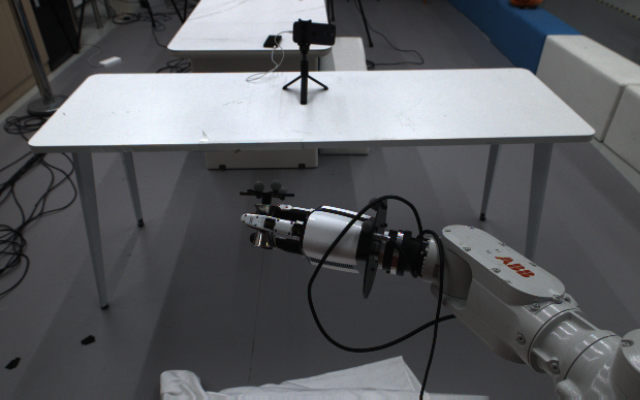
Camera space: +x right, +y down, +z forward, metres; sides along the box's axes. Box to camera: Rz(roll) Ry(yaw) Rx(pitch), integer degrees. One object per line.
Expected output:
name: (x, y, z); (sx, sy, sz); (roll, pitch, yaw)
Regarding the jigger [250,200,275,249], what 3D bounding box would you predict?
jigger: (-0.088, 0.041, 0.778); (0.043, 0.071, 0.043); (2, -6, 0)
